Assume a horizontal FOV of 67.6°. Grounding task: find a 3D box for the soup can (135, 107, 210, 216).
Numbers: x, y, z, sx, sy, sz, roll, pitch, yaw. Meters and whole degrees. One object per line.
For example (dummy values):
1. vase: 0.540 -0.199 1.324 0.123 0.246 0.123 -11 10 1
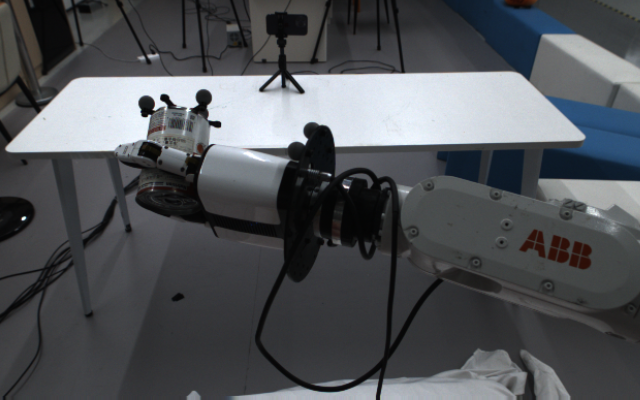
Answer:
1. soup can: -0.157 -0.041 0.525 0.067 0.067 0.101 1 68 -1
